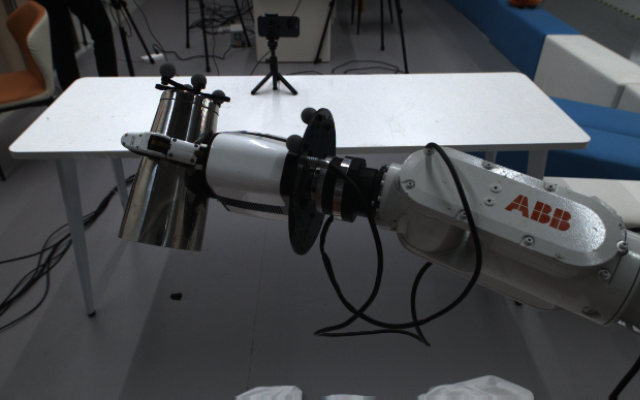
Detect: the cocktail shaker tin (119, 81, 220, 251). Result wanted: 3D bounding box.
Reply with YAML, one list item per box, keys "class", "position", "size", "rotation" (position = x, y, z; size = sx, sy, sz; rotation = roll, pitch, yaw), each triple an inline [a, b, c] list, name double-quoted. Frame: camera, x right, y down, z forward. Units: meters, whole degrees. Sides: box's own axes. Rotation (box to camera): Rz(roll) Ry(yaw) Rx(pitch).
- class: "cocktail shaker tin"
  position: [-0.164, -0.032, 0.553]
  size: [0.093, 0.170, 0.093]
  rotation: [10, -5, 1]
